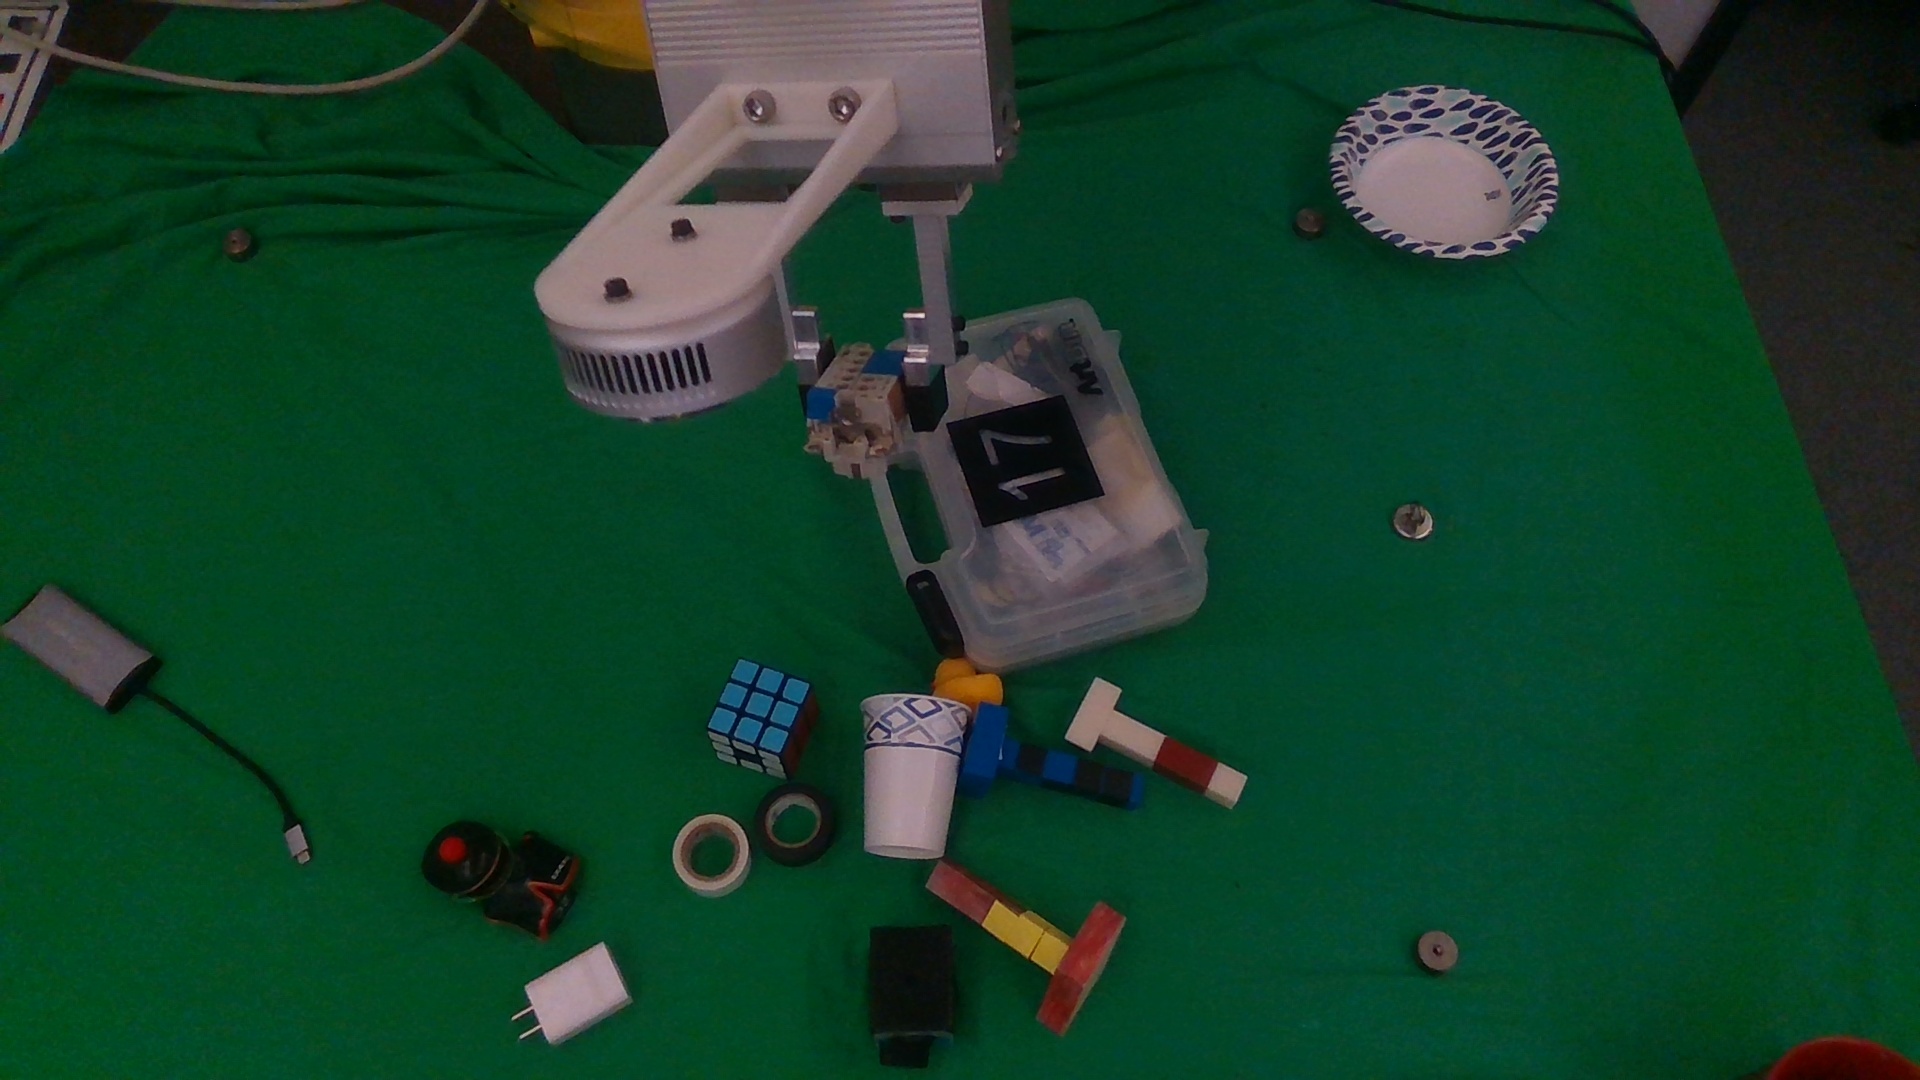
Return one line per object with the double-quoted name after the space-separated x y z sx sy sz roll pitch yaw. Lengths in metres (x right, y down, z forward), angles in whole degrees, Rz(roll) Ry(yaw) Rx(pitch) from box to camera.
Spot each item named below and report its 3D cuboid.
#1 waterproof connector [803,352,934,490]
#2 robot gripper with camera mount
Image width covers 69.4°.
-0.033 -0.046 0.532 0.035 0.037 0.065 3 35 21 "waterproof connector"
-0.044 -0.067 0.438 0.119 0.158 0.193 -5 31 14 "robot gripper with camera mount"
